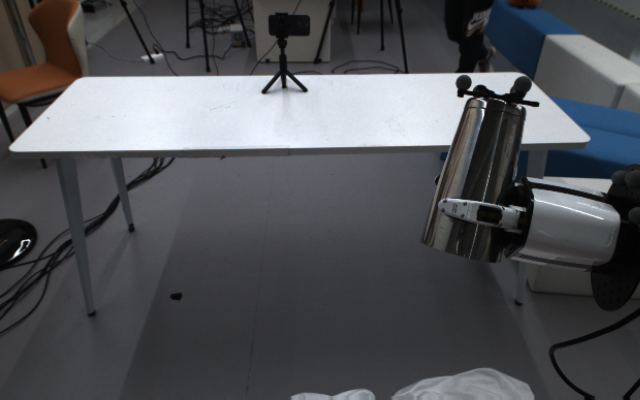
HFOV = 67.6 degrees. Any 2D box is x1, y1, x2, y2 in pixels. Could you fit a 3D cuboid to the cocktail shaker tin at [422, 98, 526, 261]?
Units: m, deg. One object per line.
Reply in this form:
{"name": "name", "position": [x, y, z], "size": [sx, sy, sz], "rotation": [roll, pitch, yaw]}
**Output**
{"name": "cocktail shaker tin", "position": [0.180, -0.024, 0.552], "size": [0.093, 0.170, 0.093], "rotation": [13, 4, -1]}
